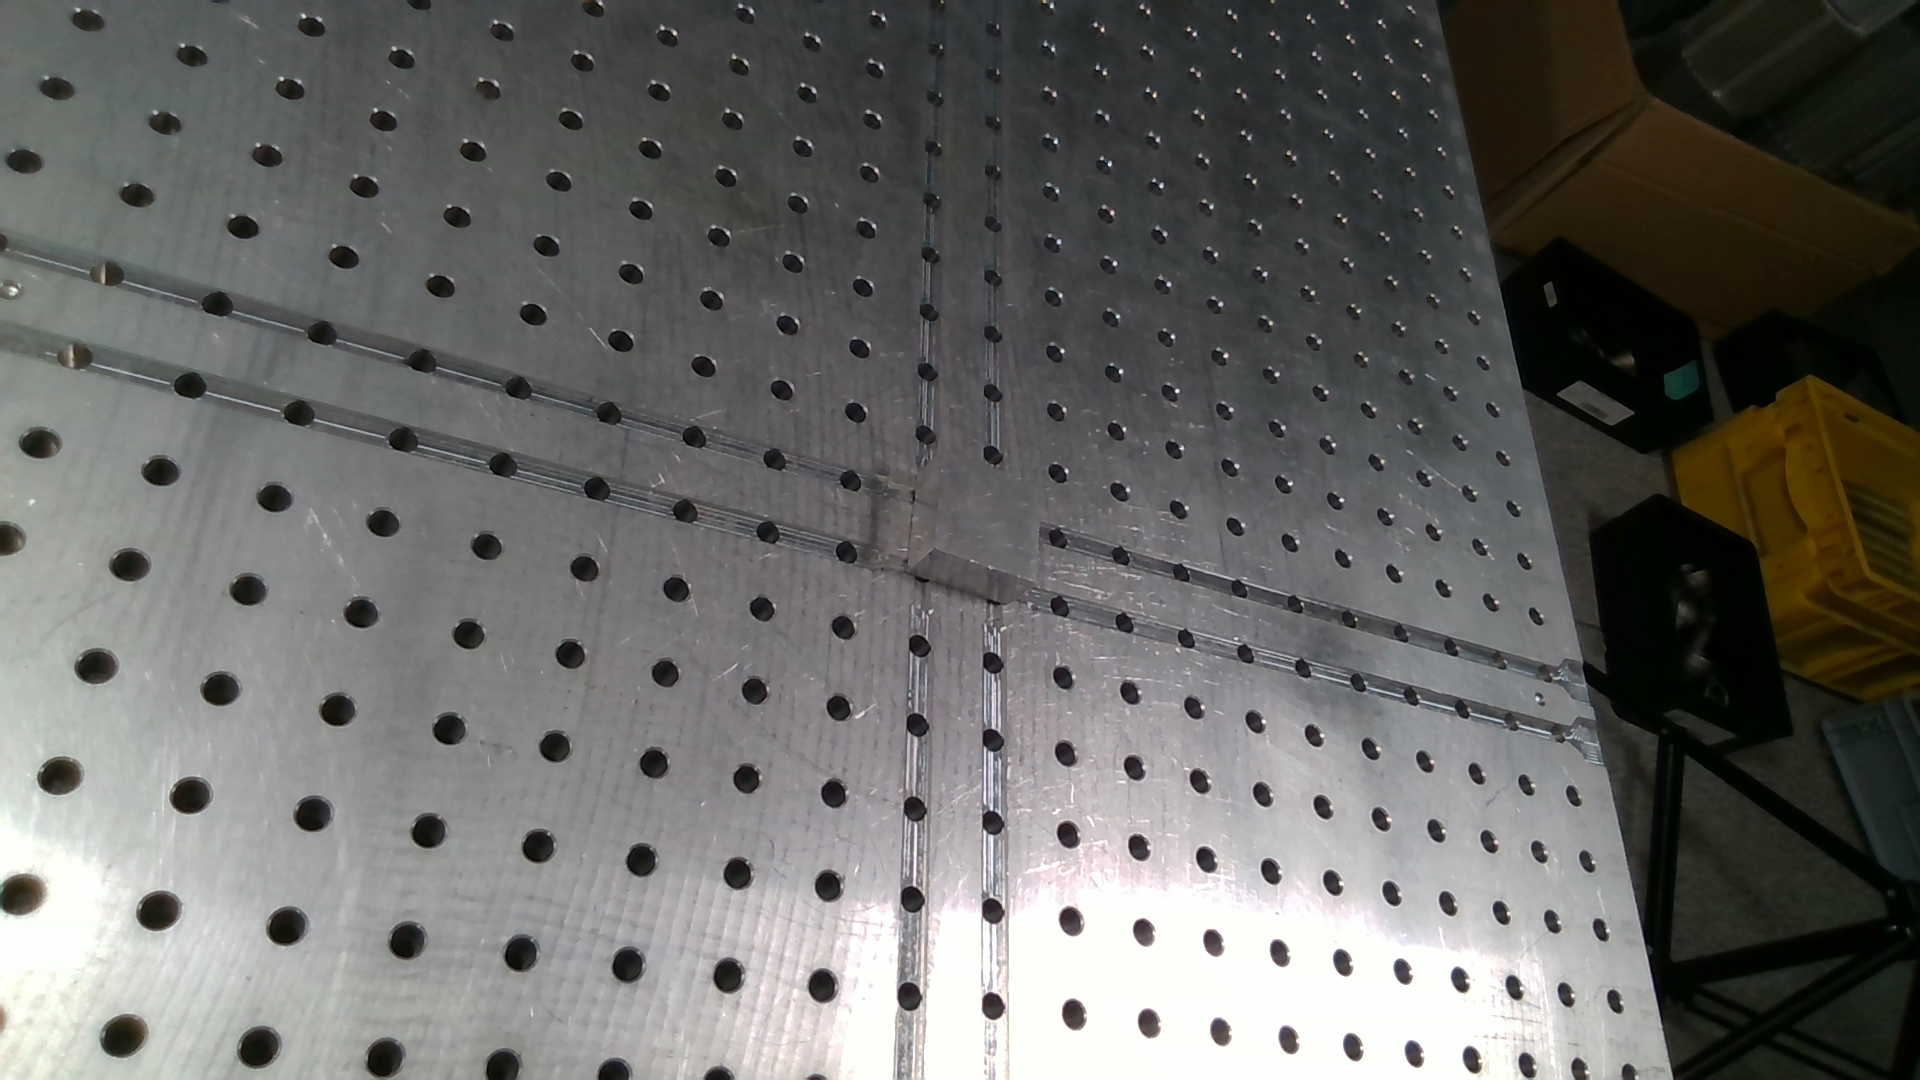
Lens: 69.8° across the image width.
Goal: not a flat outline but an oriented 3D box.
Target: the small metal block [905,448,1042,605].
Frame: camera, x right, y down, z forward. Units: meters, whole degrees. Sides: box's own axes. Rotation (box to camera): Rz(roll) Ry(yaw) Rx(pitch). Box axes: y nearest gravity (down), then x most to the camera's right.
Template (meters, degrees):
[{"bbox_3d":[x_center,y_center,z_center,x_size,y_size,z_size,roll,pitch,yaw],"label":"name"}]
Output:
[{"bbox_3d":[0.007,-0.005,0.596,0.050,0.025,0.050,19,57,-22],"label":"small metal block"}]
